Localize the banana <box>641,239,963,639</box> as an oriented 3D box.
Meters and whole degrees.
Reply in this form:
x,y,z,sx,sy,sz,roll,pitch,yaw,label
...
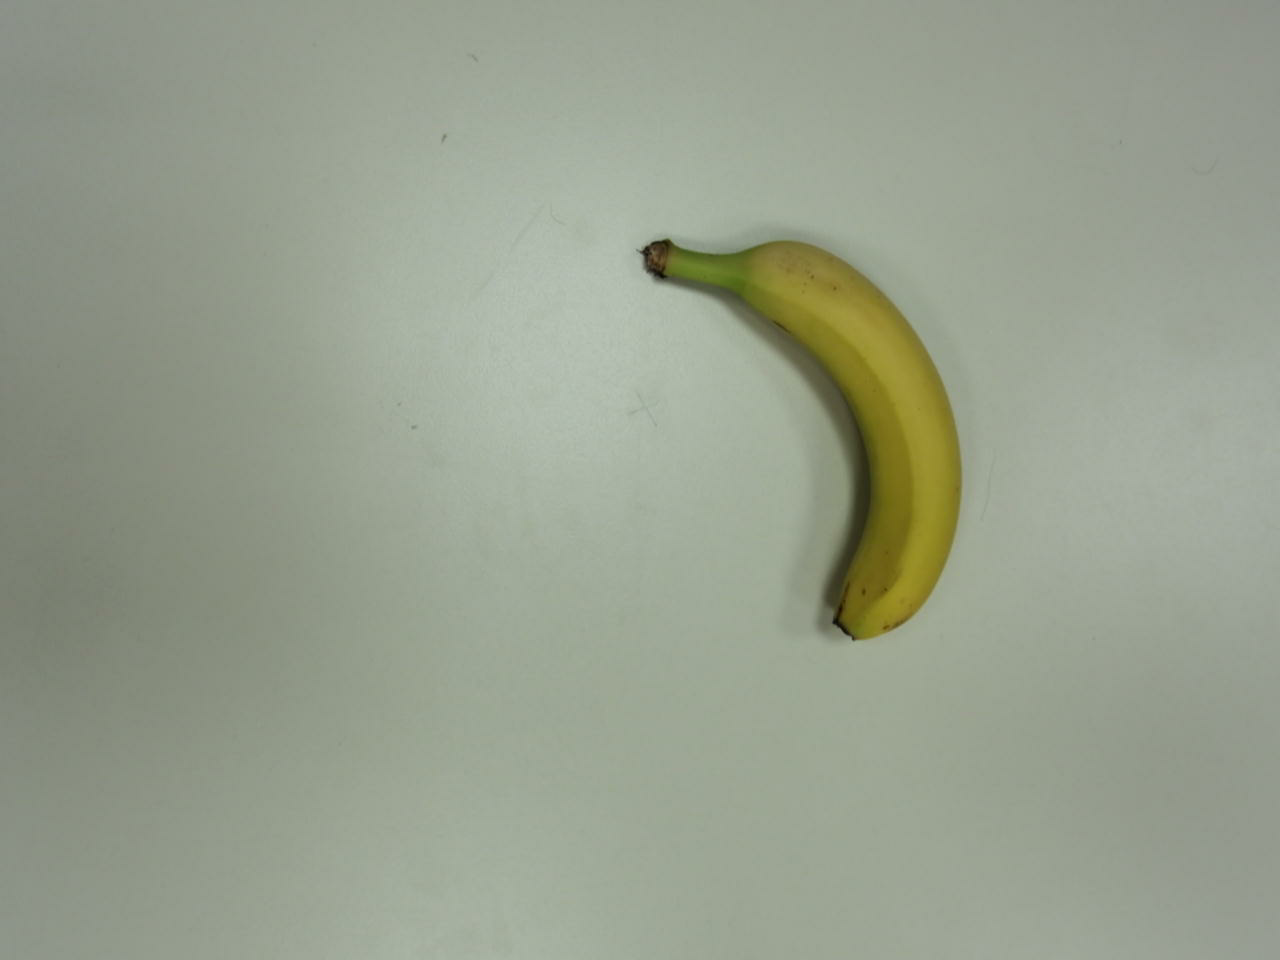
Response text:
x,y,z,sx,sy,sz,roll,pitch,yaw,label
0.088,-0.035,0.441,0.094,0.041,0.196,-27,95,-10,banana
